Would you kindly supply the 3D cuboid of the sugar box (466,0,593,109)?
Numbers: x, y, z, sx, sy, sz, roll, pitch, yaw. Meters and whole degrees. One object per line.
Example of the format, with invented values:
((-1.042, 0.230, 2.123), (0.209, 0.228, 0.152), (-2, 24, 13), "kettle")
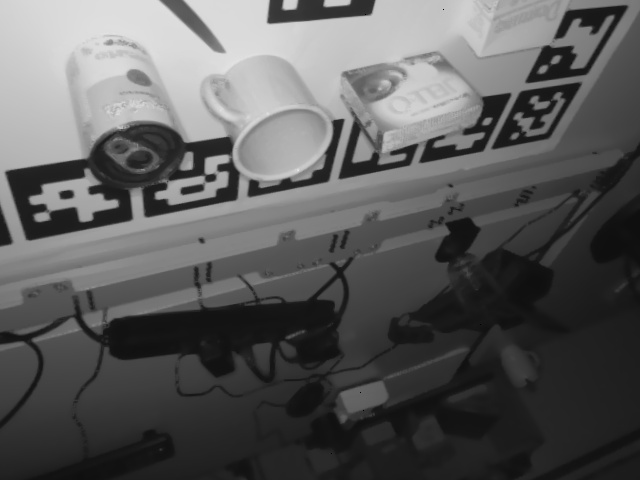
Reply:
((0.215, -0.217, 0.694), (0.094, 0.045, 0.174), (-16, 145, -21), "sugar box")

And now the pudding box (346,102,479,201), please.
((0.095, -0.093, 0.727), (0.115, 0.090, 0.038), (-17, 140, -14), "pudding box")

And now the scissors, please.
((-0.118, -0.158, 0.553), (0.087, 0.016, 0.204), (-44, 144, 8), "scissors")

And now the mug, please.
((-0.044, -0.068, 0.674), (0.093, 0.081, 0.118), (-34, 148, 7), "mug")

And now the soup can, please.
((-0.142, -0.068, 0.598), (0.068, 0.102, 0.067), (-20, 149, -12), "soup can")
